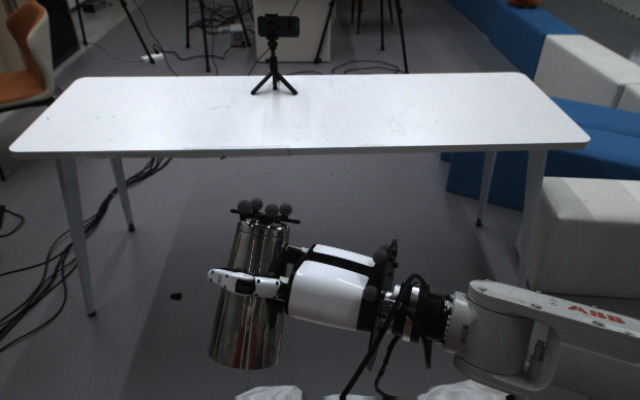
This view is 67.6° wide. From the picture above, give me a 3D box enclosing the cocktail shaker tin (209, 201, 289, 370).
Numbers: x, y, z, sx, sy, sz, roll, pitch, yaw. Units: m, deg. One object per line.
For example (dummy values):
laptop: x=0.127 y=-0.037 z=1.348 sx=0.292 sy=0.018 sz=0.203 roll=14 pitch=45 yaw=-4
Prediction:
cocktail shaker tin: x=-0.082 y=0.113 z=0.612 sx=0.093 sy=0.170 sz=0.093 roll=9 pitch=3 yaw=0
